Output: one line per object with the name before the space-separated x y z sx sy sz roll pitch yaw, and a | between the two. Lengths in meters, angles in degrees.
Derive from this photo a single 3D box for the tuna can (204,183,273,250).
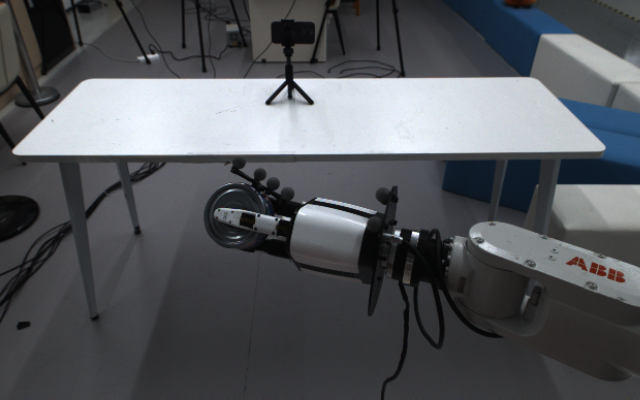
tuna can | -0.101 0.027 0.618 0.085 0.085 0.034 13 -4 15
